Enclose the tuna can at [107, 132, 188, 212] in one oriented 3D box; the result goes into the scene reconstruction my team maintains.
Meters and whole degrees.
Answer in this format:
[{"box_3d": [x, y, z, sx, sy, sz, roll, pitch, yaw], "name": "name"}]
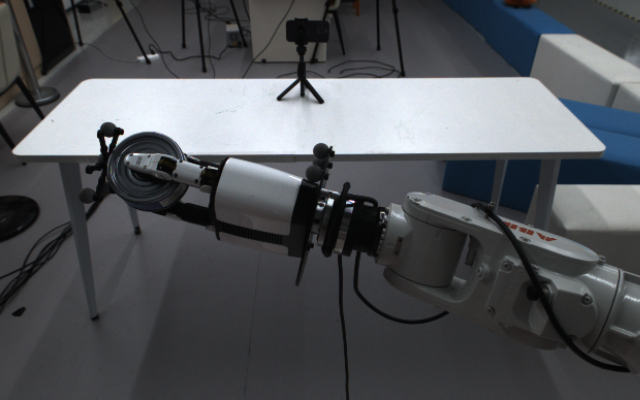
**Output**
[{"box_3d": [-0.189, -0.032, 0.542, 0.085, 0.034, 0.085, 1, 74, -4], "name": "tuna can"}]
